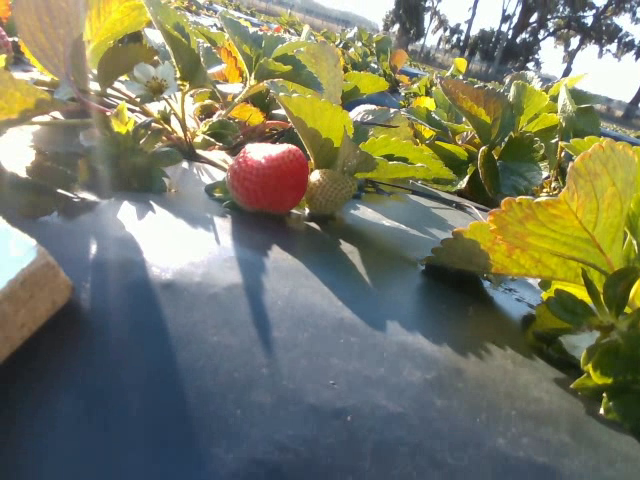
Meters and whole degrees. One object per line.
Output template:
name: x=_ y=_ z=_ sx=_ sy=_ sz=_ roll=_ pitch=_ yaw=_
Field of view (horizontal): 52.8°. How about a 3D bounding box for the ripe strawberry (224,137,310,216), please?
ripe strawberry: x=-0.015 y=-0.023 z=0.231 sx=0.042 sy=0.037 sz=0.045 roll=28 pitch=-37 yaw=-10
